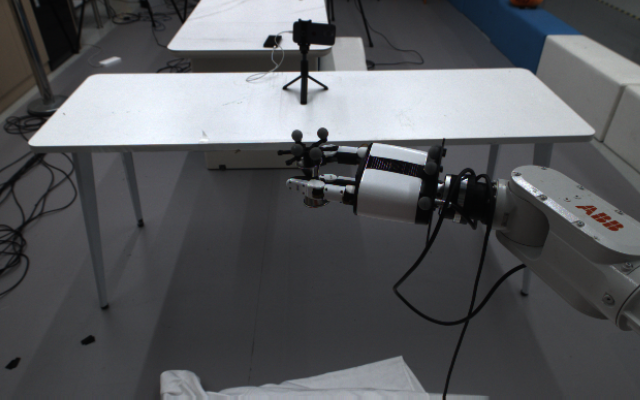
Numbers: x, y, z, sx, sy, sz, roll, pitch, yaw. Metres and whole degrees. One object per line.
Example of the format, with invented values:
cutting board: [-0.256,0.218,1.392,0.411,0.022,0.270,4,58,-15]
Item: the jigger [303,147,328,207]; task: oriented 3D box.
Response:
jigger: [-0.009,-0.031,0.729,0.043,0.071,0.043,-9,31,5]
